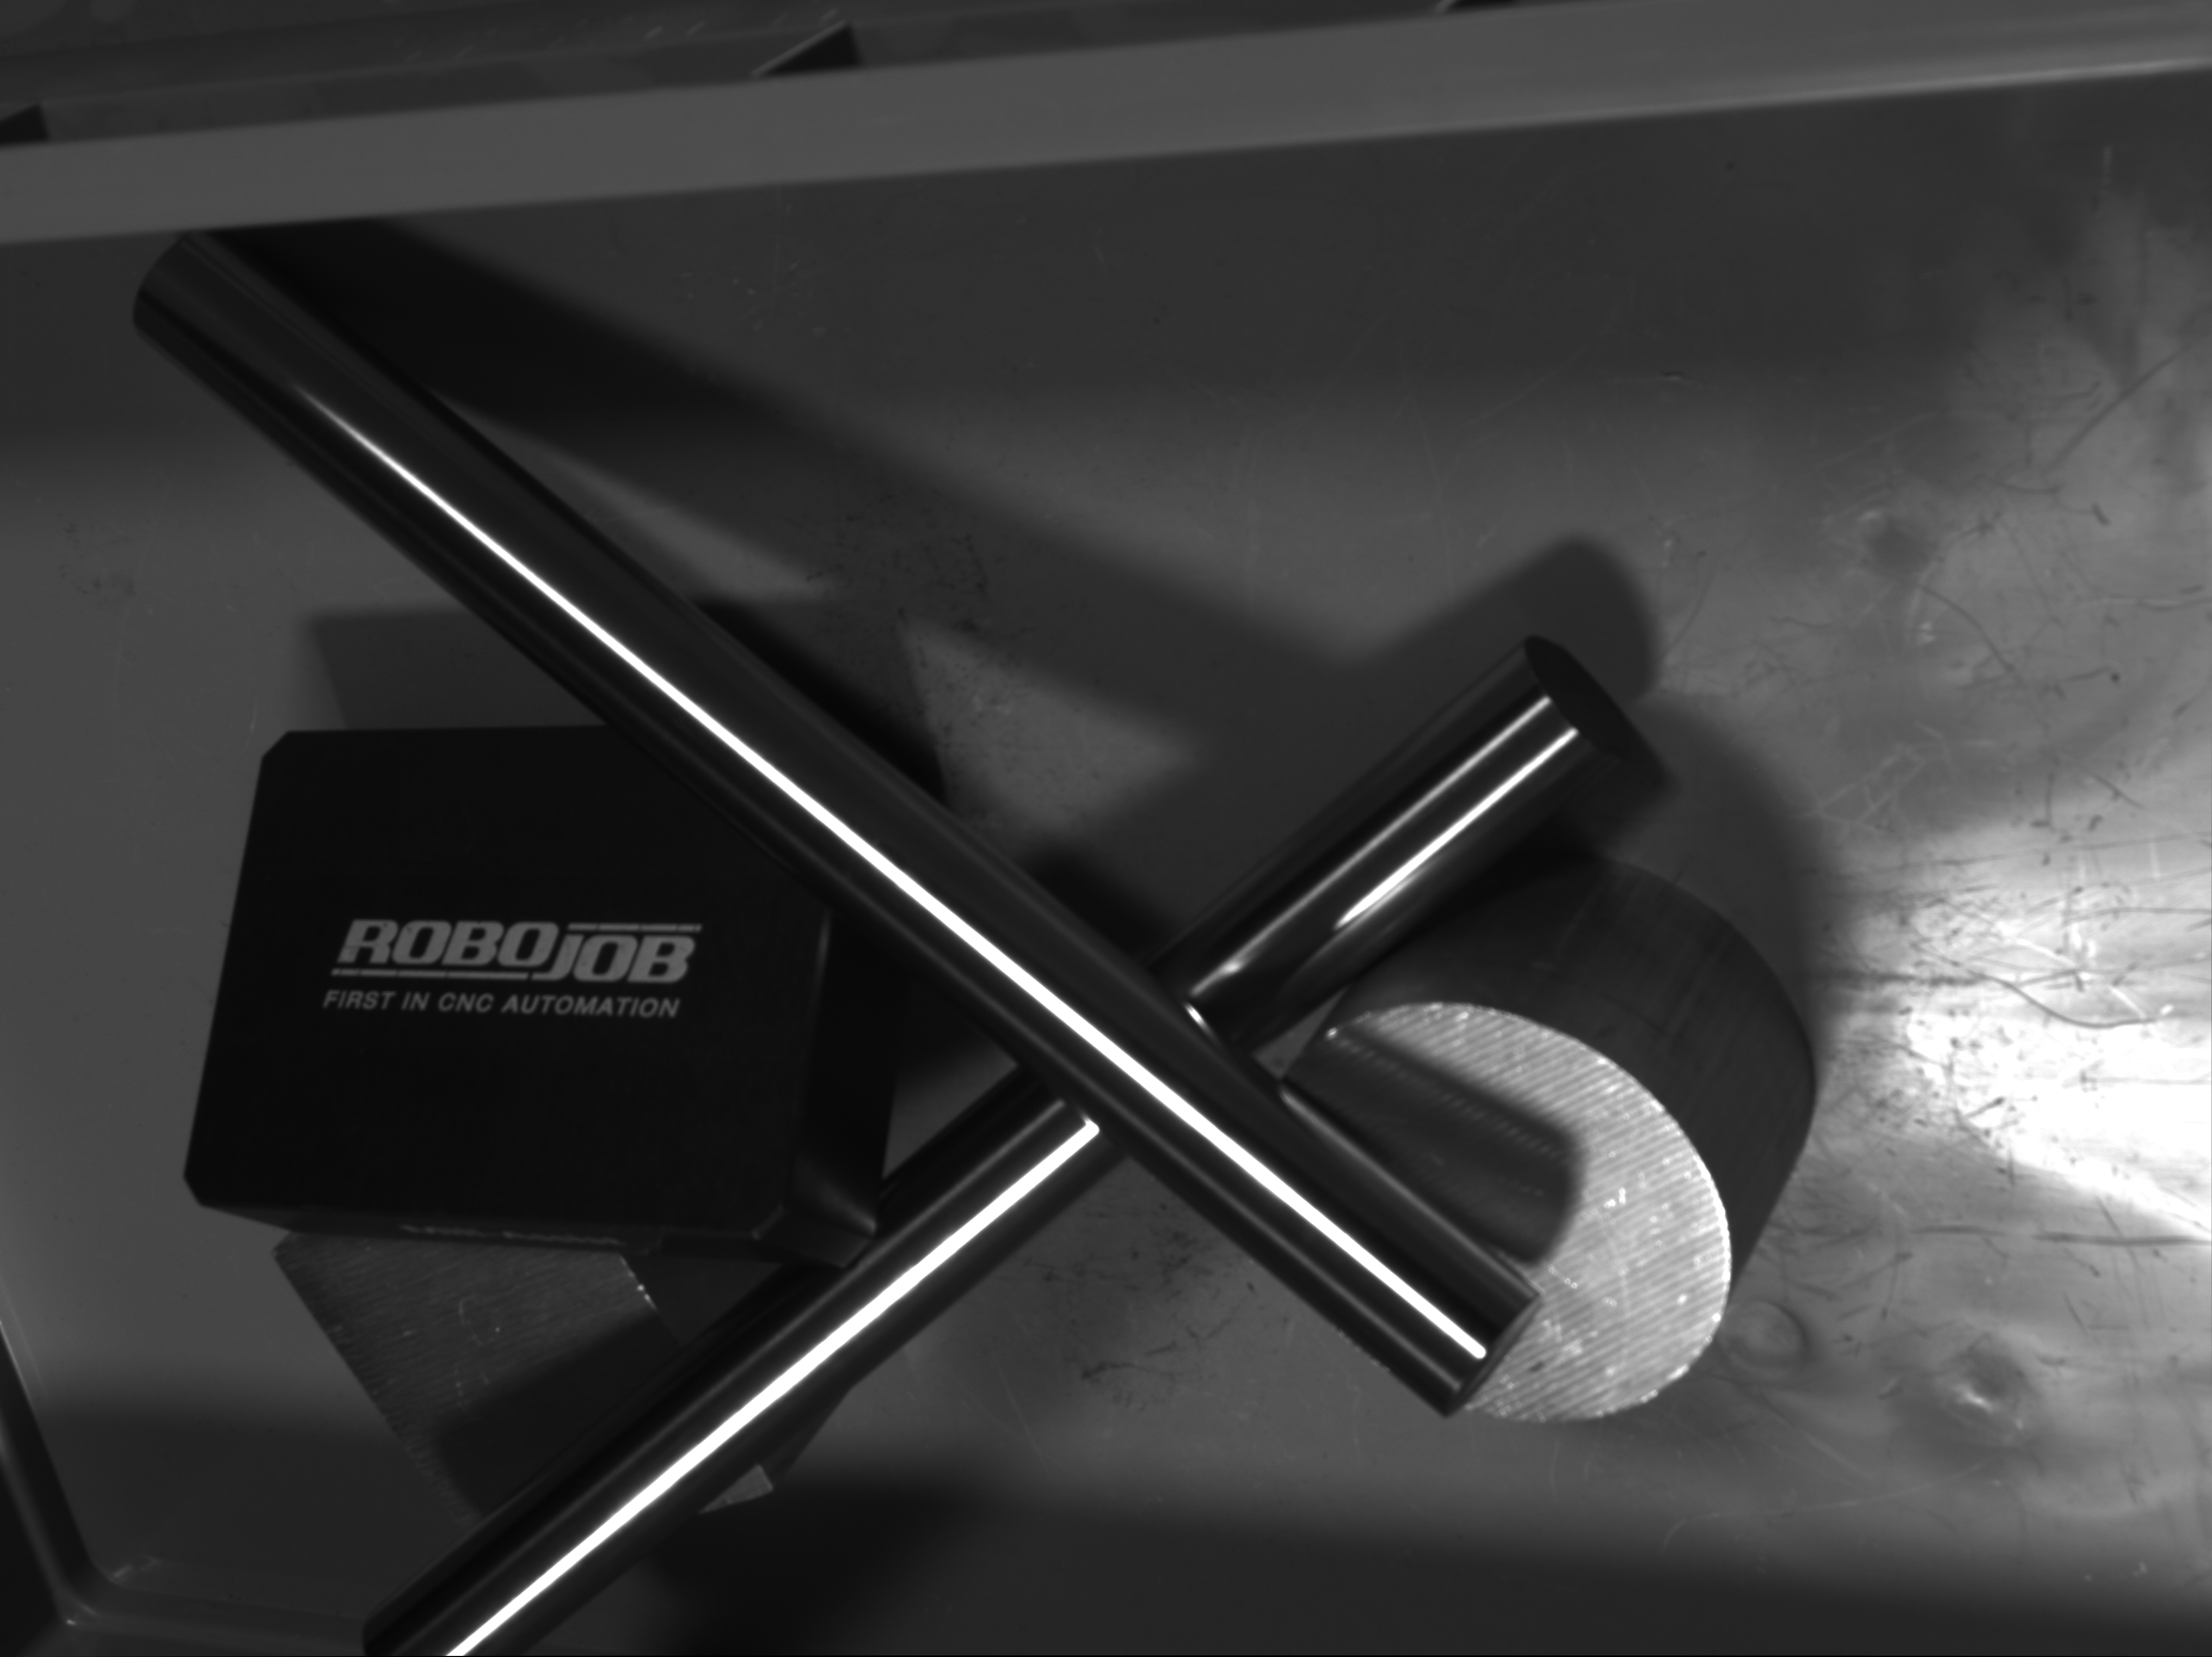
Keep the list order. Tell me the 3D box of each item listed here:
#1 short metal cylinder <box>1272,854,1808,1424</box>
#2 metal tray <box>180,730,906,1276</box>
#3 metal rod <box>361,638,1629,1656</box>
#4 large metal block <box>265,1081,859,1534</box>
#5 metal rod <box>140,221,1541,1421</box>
[{"bbox_3d":[0.071,0.051,0.608,0.080,0.050,0.080,12,123,20],"label":"short metal cylinder"},{"bbox_3d":[-0.100,0.029,0.659,0.130,0.030,0.090,1,74,28],"label":"metal tray"},{"bbox_3d":[-0.029,0.070,0.639,0.300,0.025,0.025,-41,96,24],"label":"metal rod"},{"bbox_3d":[-0.102,0.092,0.717,0.080,0.050,0.080,-21,108,34],"label":"large metal block"},{"bbox_3d":[-0.052,-0.008,0.614,0.300,0.025,0.025,39,129,16],"label":"metal rod"}]
